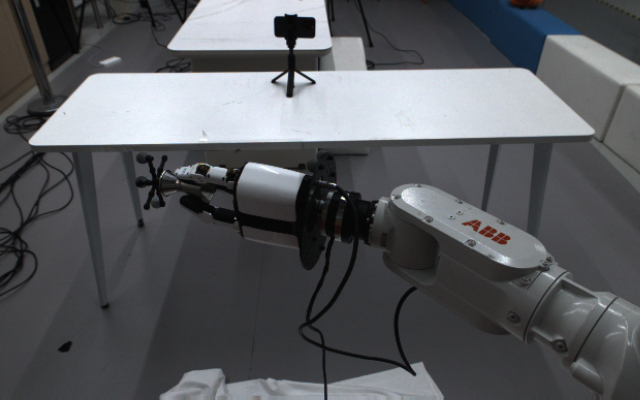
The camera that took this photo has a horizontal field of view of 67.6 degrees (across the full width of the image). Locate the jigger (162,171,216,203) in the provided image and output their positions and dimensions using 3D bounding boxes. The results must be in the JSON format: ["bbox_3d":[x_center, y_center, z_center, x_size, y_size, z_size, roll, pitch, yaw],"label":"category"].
[{"bbox_3d":[-0.186,-0.024,0.703,0.071,0.043,0.043,6,35,13],"label":"jigger"}]
